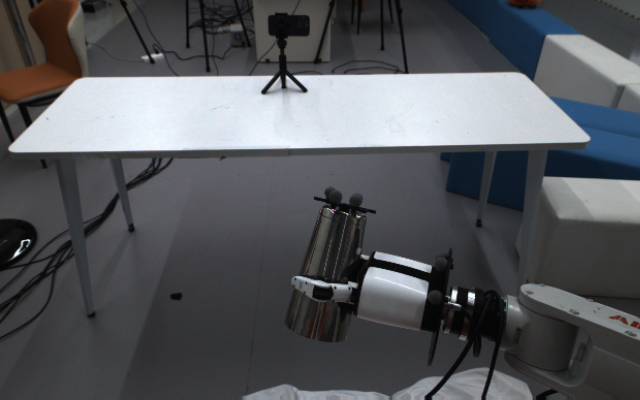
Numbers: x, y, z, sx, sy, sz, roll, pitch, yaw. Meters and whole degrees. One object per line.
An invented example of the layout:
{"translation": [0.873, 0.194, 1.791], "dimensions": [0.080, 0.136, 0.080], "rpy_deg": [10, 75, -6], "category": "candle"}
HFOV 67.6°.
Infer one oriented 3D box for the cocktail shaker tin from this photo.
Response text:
{"translation": [0.015, 0.098, 0.674], "dimensions": [0.093, 0.170, 0.093], "rpy_deg": [13, 5, -1], "category": "cocktail shaker tin"}
